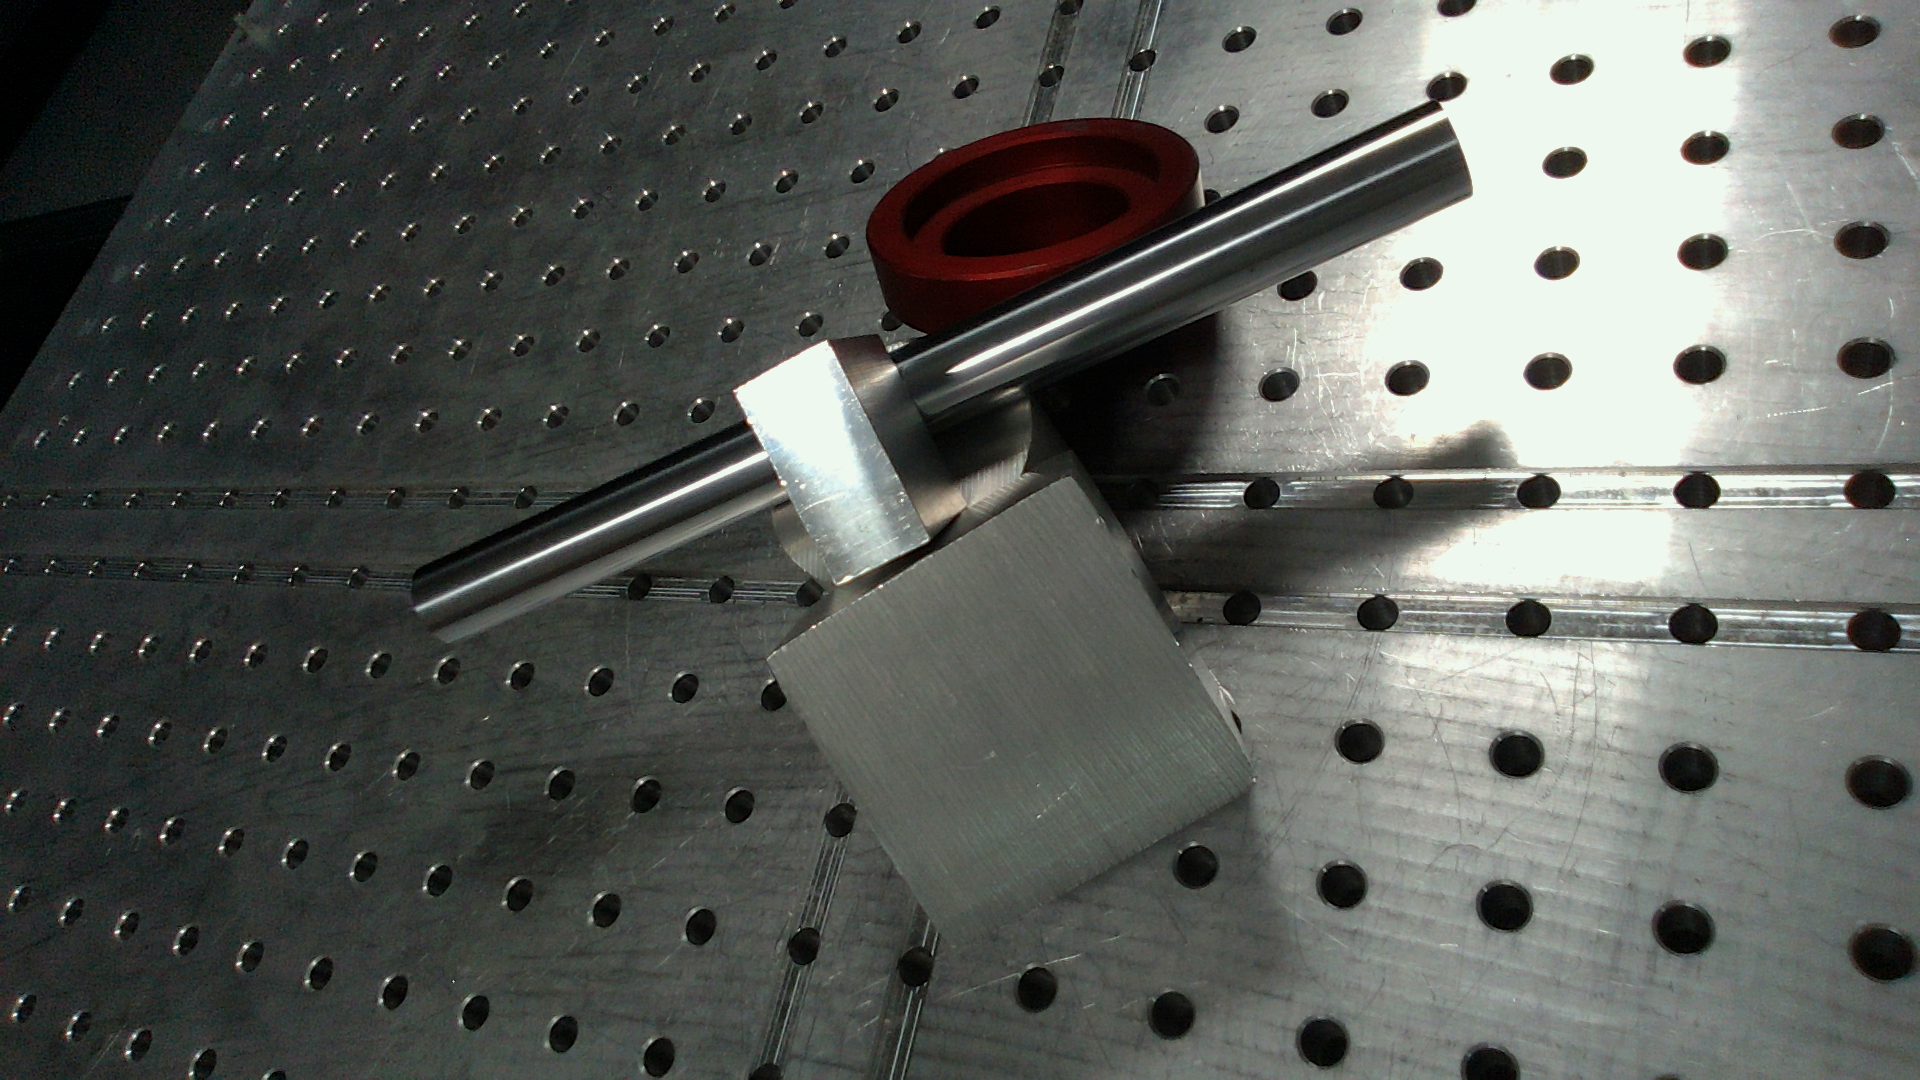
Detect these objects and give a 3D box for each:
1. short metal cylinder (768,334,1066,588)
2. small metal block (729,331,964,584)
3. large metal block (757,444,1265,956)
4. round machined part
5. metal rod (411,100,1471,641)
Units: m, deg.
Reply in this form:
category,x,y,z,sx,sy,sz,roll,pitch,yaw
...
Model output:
category,x,y,z,sx,sy,sz,roll,pitch,yaw
short metal cylinder,-0.007,-0.012,0.391,0.080,0.050,0.080,-14,56,21
small metal block,-0.025,-0.022,0.329,0.025,0.050,0.050,-26,94,12
large metal block,0.013,0.035,0.322,0.080,0.050,0.080,-31,96,9
round machined part,0.024,-0.085,0.410,0.098,0.042,0.098,-10,37,8
metal rod,-0.018,-0.037,0.364,0.299,0.025,0.025,-22,53,15
